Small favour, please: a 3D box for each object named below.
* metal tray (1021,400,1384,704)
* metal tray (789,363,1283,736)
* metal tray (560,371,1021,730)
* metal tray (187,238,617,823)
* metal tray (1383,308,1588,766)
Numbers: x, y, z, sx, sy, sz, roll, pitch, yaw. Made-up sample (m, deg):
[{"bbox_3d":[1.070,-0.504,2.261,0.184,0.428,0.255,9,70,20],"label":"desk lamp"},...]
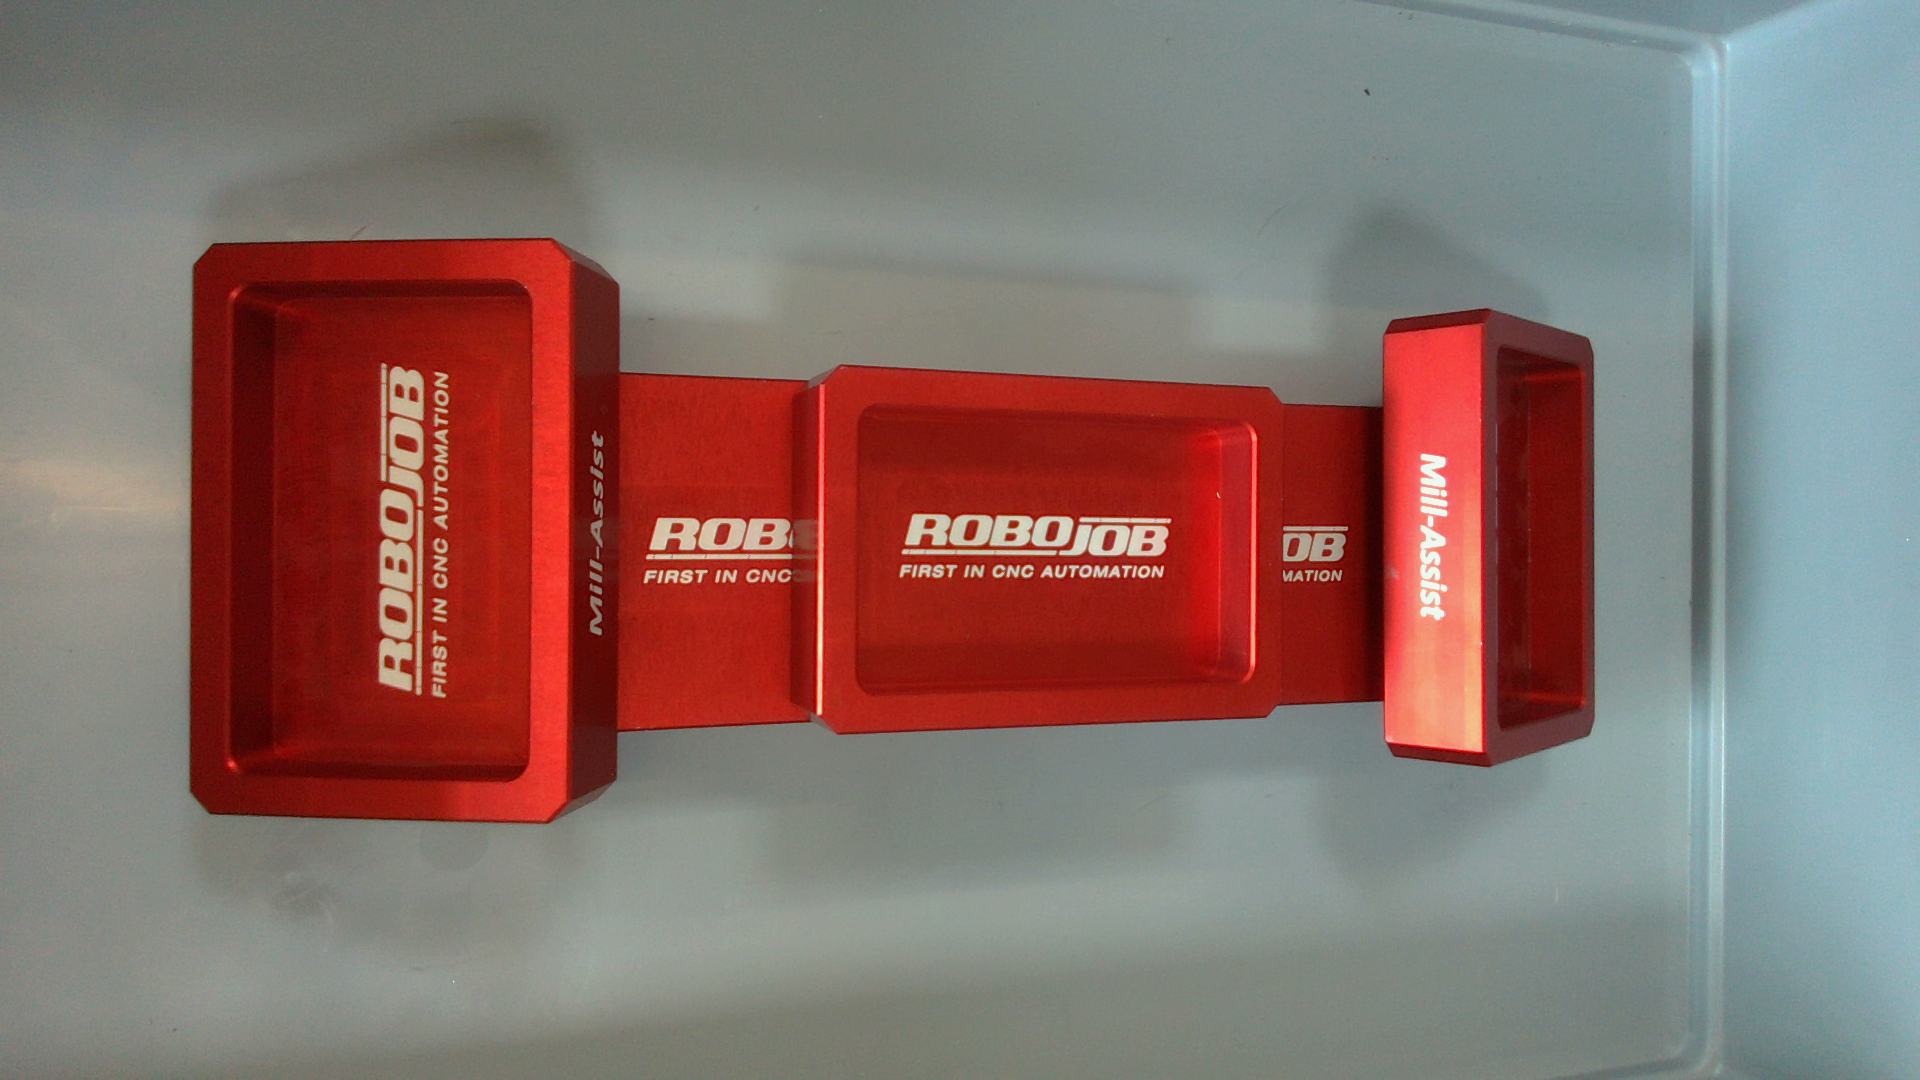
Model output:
[{"bbox_3d":[0.074,0.004,0.417,0.130,0.030,0.090,0,90,-20],"label":"metal tray"},{"bbox_3d":[0.022,0.003,0.365,0.130,0.030,0.090,1,89,-20],"label":"metal tray"},{"bbox_3d":[-0.049,0.003,0.373,0.130,0.030,0.090,0,90,-20],"label":"metal tray"},{"bbox_3d":[-0.130,-0.002,0.323,0.090,0.030,0.130,1,90,5],"label":"metal tray"},{"bbox_3d":[0.166,-0.001,0.430,0.090,0.030,0.130,0,90,-48],"label":"metal tray"}]
